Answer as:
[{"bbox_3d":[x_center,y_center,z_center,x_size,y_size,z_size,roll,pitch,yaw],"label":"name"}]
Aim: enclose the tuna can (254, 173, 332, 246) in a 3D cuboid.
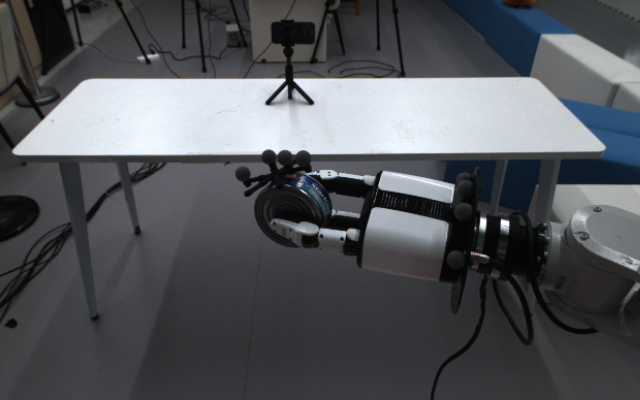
[{"bbox_3d":[-0.027,0.018,0.555,0.085,0.085,0.034,11,34,13],"label":"tuna can"}]
